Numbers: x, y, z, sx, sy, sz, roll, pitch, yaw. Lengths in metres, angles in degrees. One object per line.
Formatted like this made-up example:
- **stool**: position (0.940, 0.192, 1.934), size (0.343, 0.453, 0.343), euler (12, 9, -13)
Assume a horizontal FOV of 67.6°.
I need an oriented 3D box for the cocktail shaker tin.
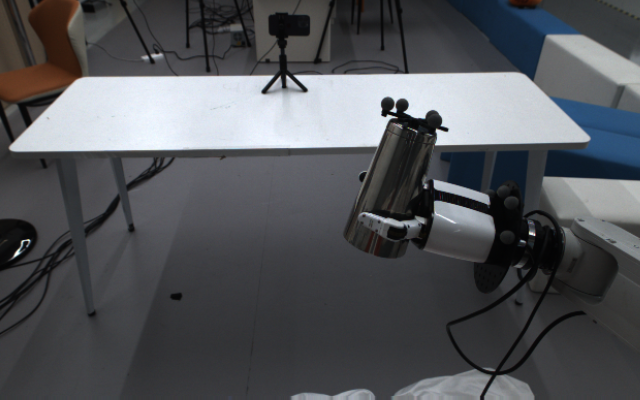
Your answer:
- **cocktail shaker tin**: position (0.099, -0.020, 0.655), size (0.093, 0.170, 0.093), euler (14, 20, -5)
